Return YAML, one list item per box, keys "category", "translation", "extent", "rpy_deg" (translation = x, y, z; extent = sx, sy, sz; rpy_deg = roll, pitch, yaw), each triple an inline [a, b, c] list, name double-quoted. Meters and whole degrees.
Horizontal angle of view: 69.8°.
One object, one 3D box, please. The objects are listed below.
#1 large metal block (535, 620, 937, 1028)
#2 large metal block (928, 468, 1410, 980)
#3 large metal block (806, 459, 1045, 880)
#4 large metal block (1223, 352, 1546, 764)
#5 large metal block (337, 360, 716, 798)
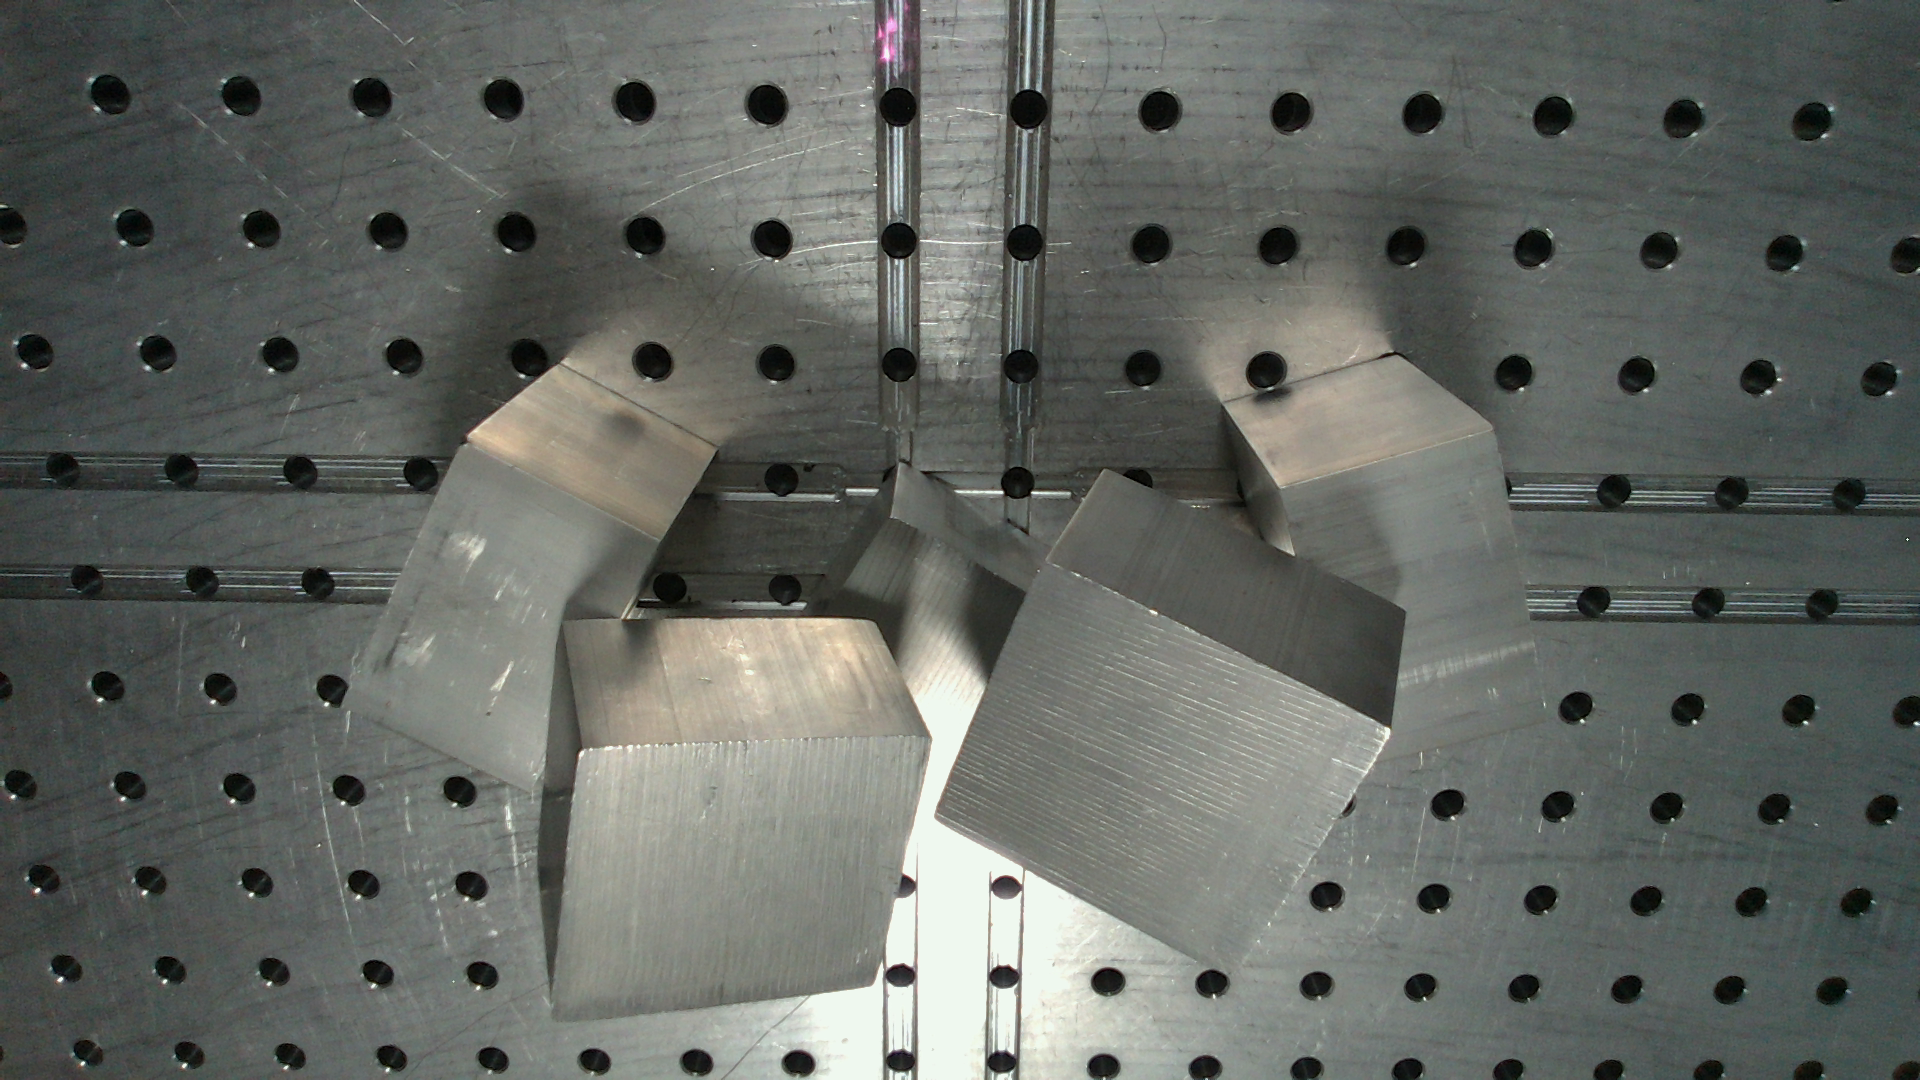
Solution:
- category: "large metal block"
  translation: [-0.058, 0.067, 0.338]
  extent: [0.080, 0.050, 0.080]
  rpy_deg: [1, 119, -23]
- category: "large metal block"
  translation: [0.049, 0.043, 0.325]
  extent: [0.080, 0.050, 0.080]
  rpy_deg: [26, 122, 7]
- category: "large metal block"
  translation: [-0.005, 0.036, 0.396]
  extent: [0.080, 0.050, 0.080]
  rpy_deg: [30, 107, -11]
- category: "large metal block"
  translation: [0.111, 0.003, 0.369]
  extent: [0.050, 0.080, 0.080]
  rpy_deg: [-15, 110, 6]
- category: "large metal block"
  translation: [-0.112, 0.007, 0.369]
  extent: [0.050, 0.080, 0.080]
  rpy_deg: [28, 108, -10]
